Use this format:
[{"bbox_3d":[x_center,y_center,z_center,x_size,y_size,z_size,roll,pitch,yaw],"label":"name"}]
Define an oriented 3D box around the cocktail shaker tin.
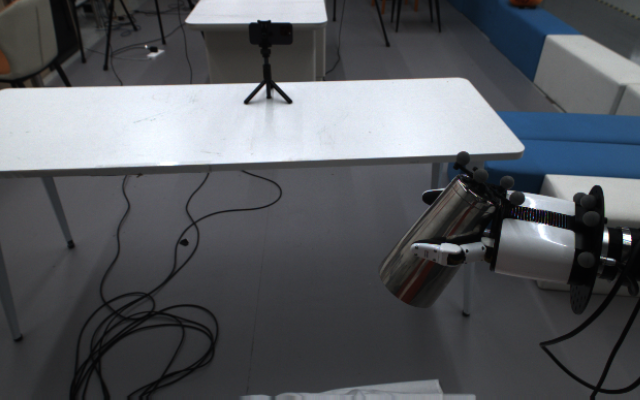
[{"bbox_3d":[0.162,0.047,0.645,0.093,0.170,0.093,25,29,-15],"label":"cocktail shaker tin"}]
